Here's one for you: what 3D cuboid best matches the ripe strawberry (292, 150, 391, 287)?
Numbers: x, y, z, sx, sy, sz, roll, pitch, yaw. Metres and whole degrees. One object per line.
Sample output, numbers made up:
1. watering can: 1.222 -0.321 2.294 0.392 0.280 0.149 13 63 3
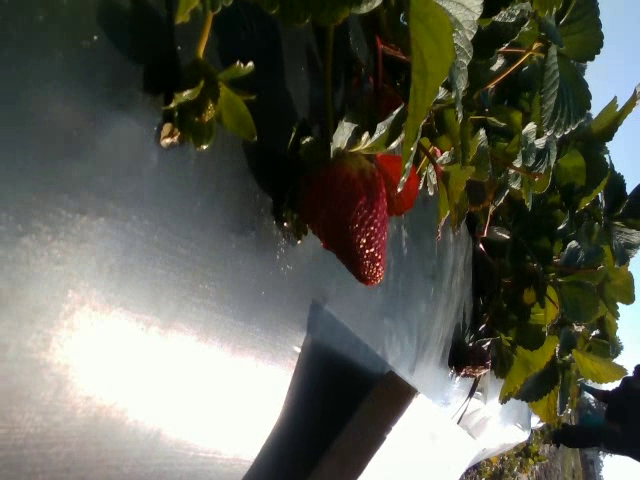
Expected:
1. ripe strawberry: 0.012 -0.005 0.219 0.040 0.056 0.040 -26 6 -38
